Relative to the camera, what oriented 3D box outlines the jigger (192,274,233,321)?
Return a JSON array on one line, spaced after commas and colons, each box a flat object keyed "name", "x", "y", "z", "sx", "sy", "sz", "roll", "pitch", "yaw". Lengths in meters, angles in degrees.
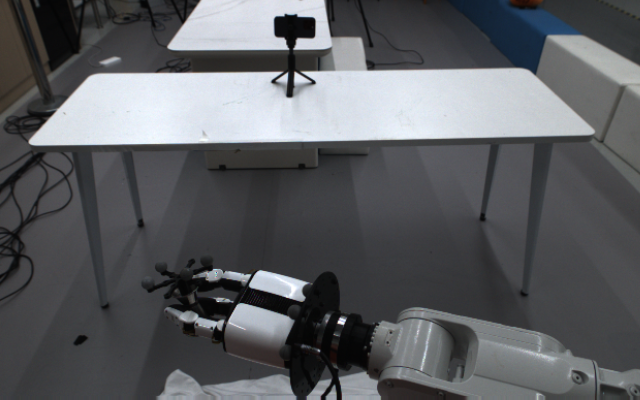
[{"name": "jigger", "x": -0.176, "y": 0.151, "z": 0.678, "sx": 0.043, "sy": 0.071, "sz": 0.043, "roll": -12, "pitch": 25, "yaw": 5}]
